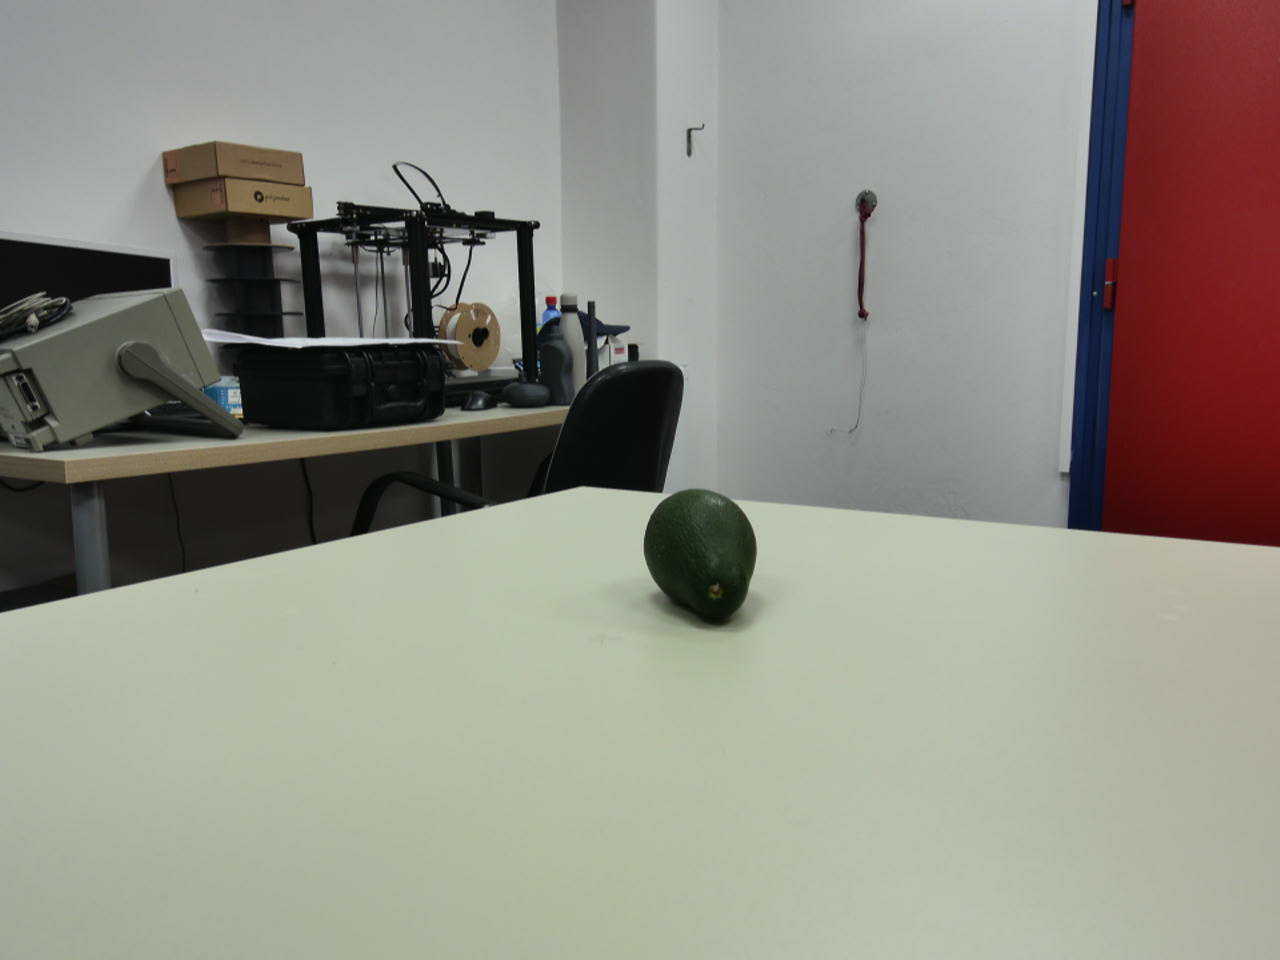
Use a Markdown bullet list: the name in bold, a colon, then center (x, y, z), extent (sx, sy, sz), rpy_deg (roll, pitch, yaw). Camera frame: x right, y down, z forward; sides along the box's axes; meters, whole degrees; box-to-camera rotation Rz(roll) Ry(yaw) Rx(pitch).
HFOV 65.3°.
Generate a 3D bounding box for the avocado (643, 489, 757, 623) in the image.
- **avocado**: center (0.036, 0.042, 0.615), extent (0.073, 0.071, 0.109), rpy_deg (2, 7, 12)
